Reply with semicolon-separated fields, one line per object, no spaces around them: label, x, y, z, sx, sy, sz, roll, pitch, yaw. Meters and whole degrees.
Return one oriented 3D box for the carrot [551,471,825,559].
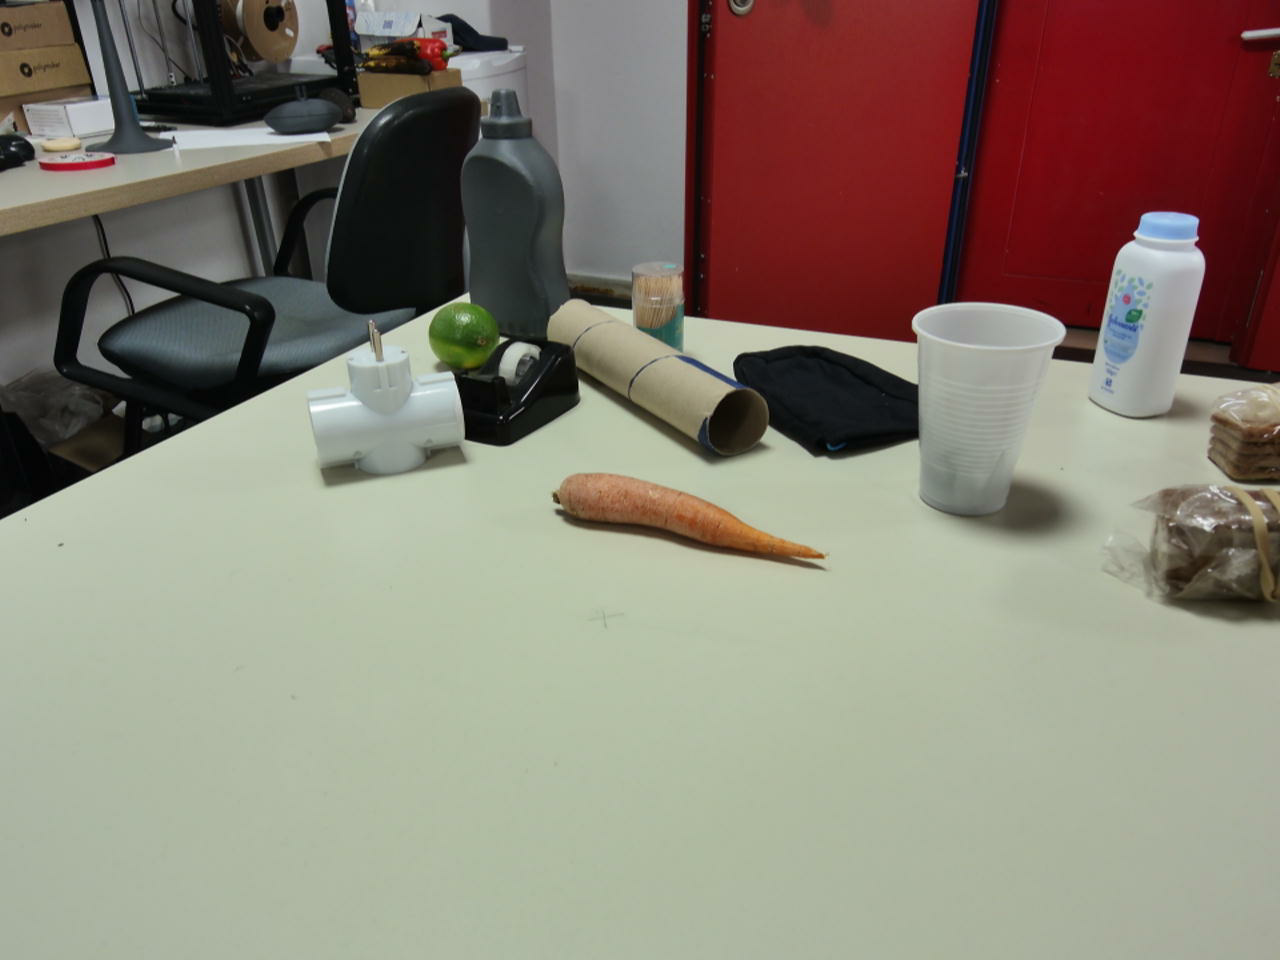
carrot;0.024;0.019;0.555;0.163;0.029;0.031;11;27;22
